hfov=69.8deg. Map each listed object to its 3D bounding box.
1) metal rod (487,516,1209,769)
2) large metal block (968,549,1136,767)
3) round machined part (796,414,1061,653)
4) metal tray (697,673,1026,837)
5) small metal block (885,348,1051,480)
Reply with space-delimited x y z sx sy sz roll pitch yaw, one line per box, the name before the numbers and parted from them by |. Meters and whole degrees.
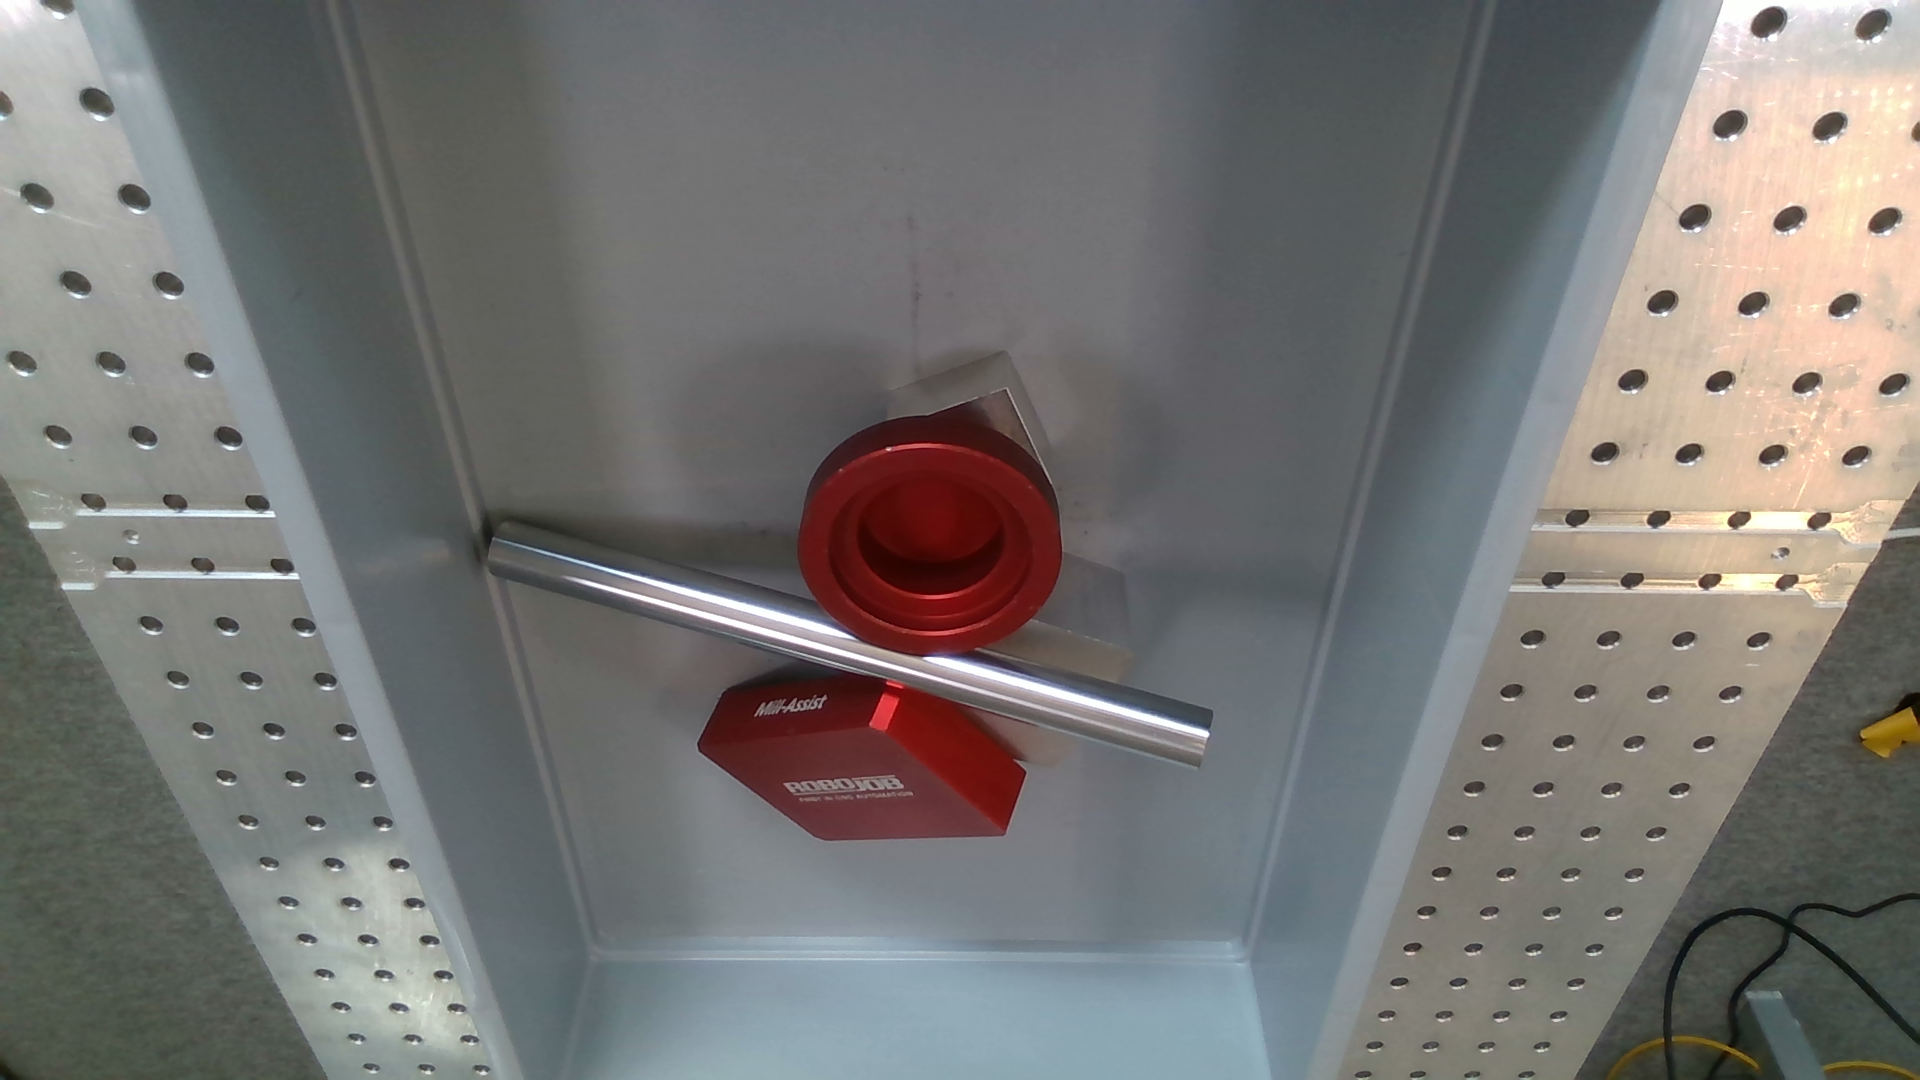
metal rod | -0.049 0.040 0.560 0.300 0.025 0.025 15 130 8
large metal block | 0.020 0.045 0.601 0.080 0.050 0.080 18 128 -14
round machined part | -0.011 -0.007 0.526 0.098 0.042 0.098 0 127 0
metal tray | -0.047 0.099 0.626 0.130 0.030 0.090 -13 133 43
small metal block | 0.004 -0.041 0.545 0.050 0.025 0.050 -17 128 14
